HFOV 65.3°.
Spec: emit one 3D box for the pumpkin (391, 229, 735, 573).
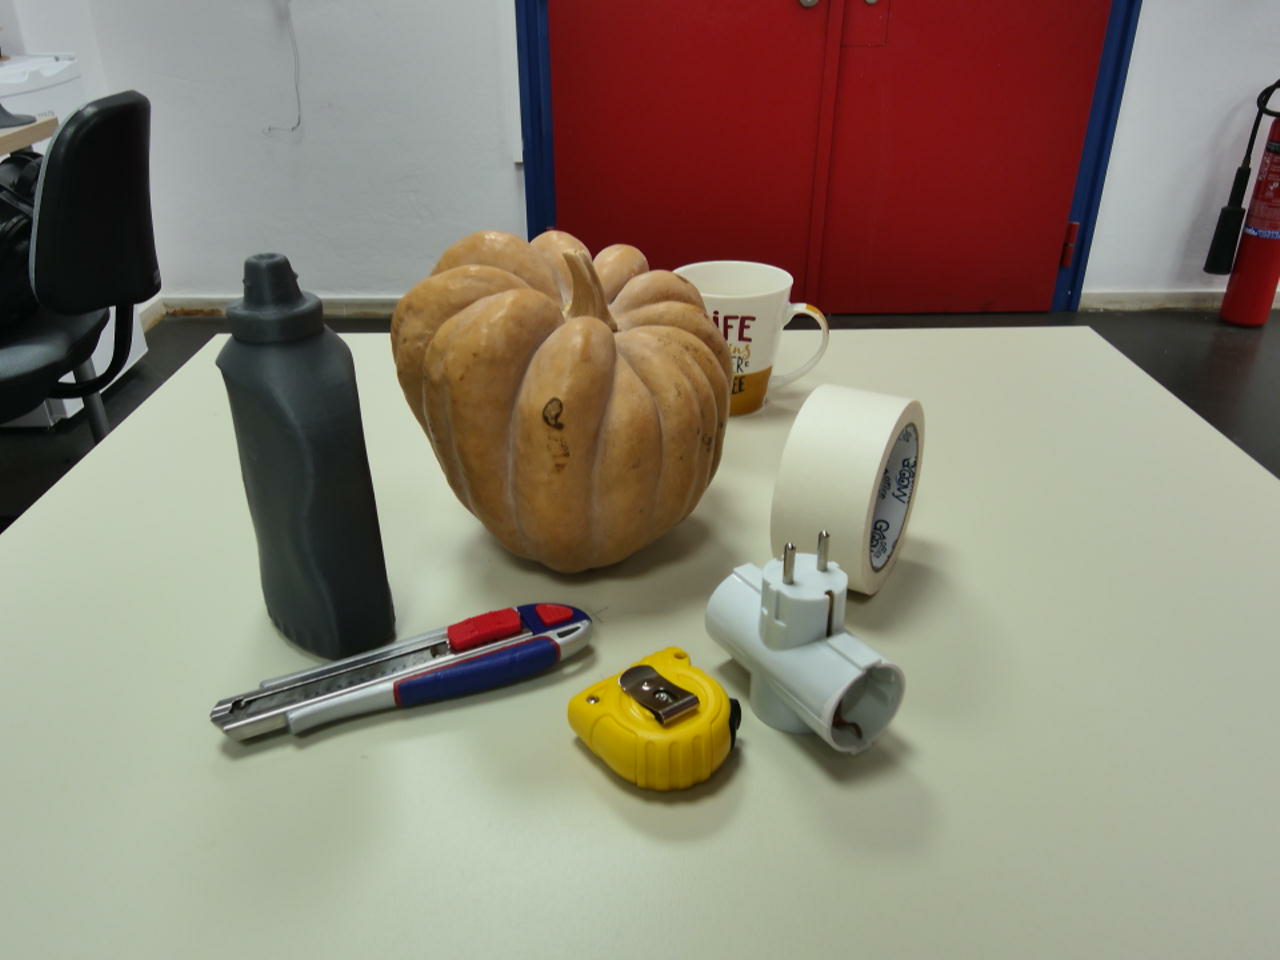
[{"bbox_3d":[-0.040,-0.046,0.564,0.199,0.177,0.198,0,26,0],"label":"pumpkin"}]
